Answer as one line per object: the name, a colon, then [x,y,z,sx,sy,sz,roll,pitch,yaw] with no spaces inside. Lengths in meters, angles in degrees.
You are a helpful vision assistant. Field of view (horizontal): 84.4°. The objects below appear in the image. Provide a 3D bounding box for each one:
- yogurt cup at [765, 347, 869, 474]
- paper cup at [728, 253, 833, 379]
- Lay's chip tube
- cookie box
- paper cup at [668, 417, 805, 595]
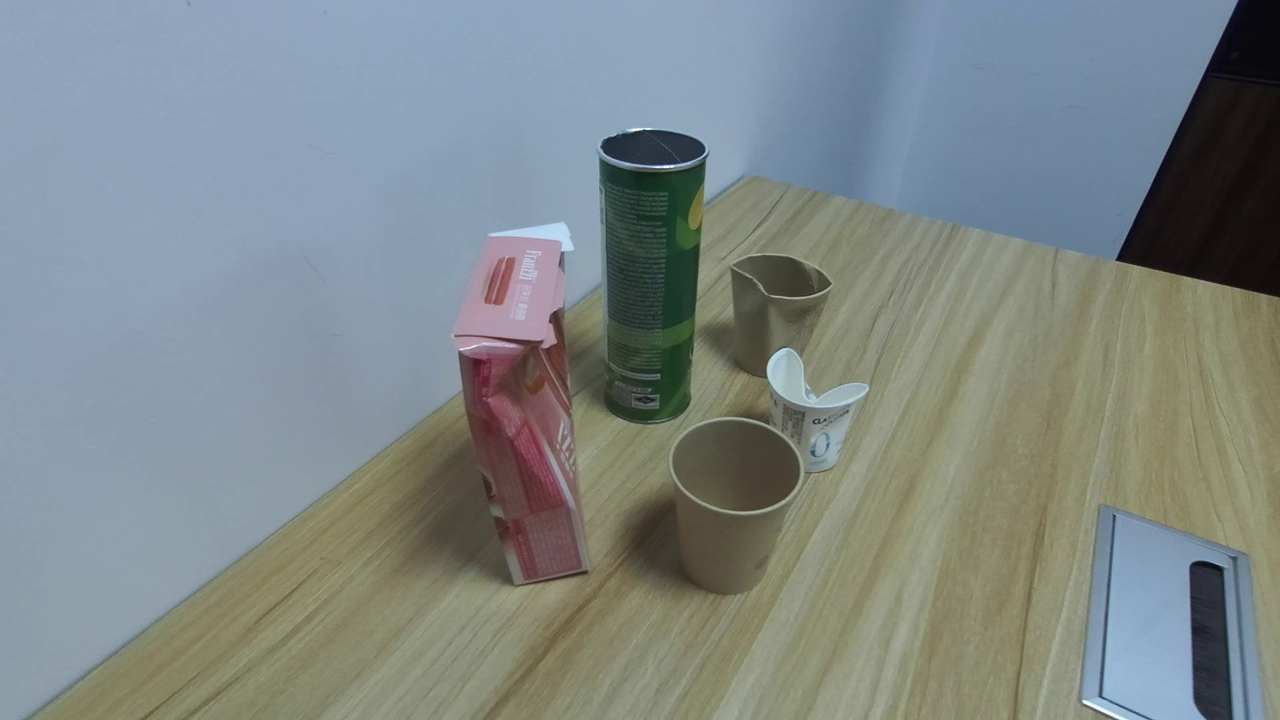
yogurt cup: [0.116,0.039,0.490,0.067,0.070,0.067,2,38,-1]
paper cup: [0.110,-0.034,0.574,0.066,0.084,0.071,-15,39,-22]
Lay's chip tube: [0.007,-0.053,0.495,0.071,0.203,0.071,1,36,-1]
cookie box: [-0.060,0.033,0.399,0.055,0.184,0.118,-3,37,-5]
paper cup: [0.052,0.089,0.411,0.075,0.082,0.075,1,37,-1]
